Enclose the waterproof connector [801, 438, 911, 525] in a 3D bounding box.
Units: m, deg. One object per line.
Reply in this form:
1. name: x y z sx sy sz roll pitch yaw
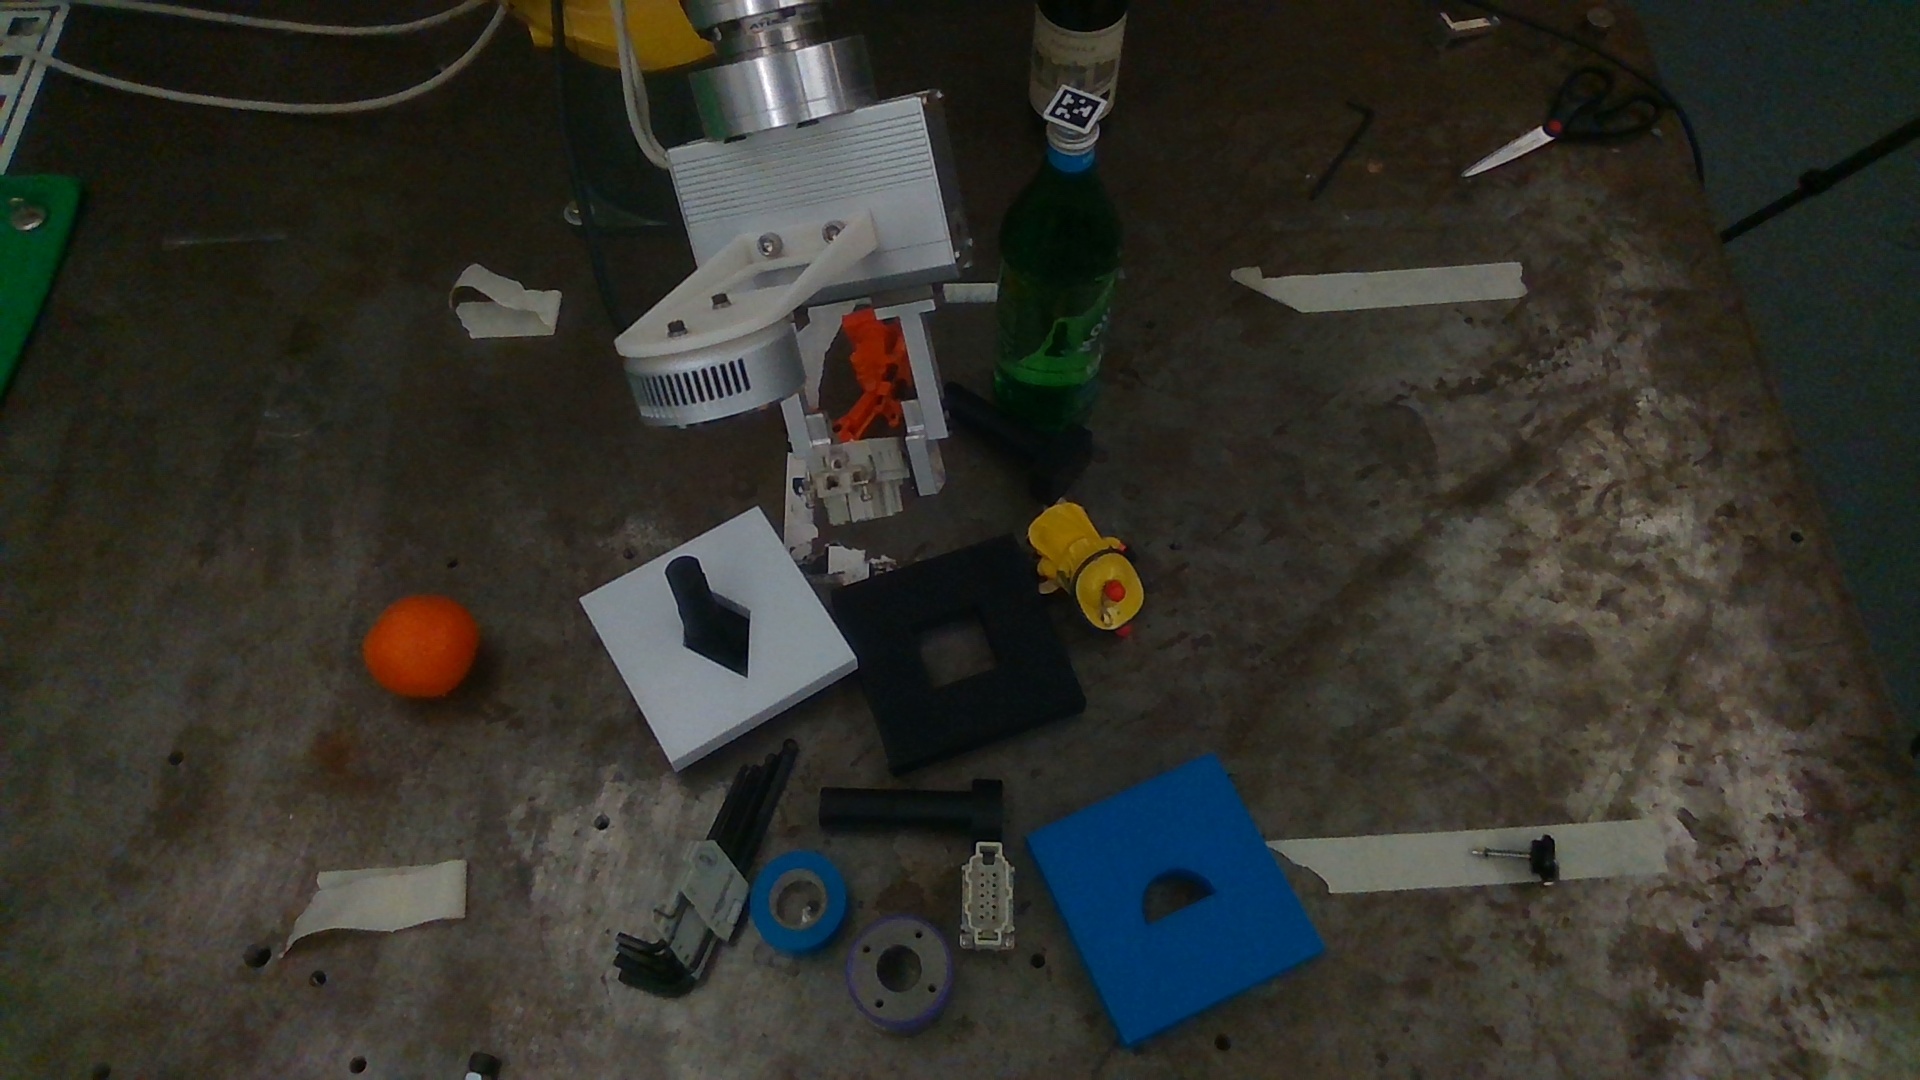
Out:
1. waterproof connector: -0.050 -0.029 0.688 0.037 0.069 0.038 -9 92 17
